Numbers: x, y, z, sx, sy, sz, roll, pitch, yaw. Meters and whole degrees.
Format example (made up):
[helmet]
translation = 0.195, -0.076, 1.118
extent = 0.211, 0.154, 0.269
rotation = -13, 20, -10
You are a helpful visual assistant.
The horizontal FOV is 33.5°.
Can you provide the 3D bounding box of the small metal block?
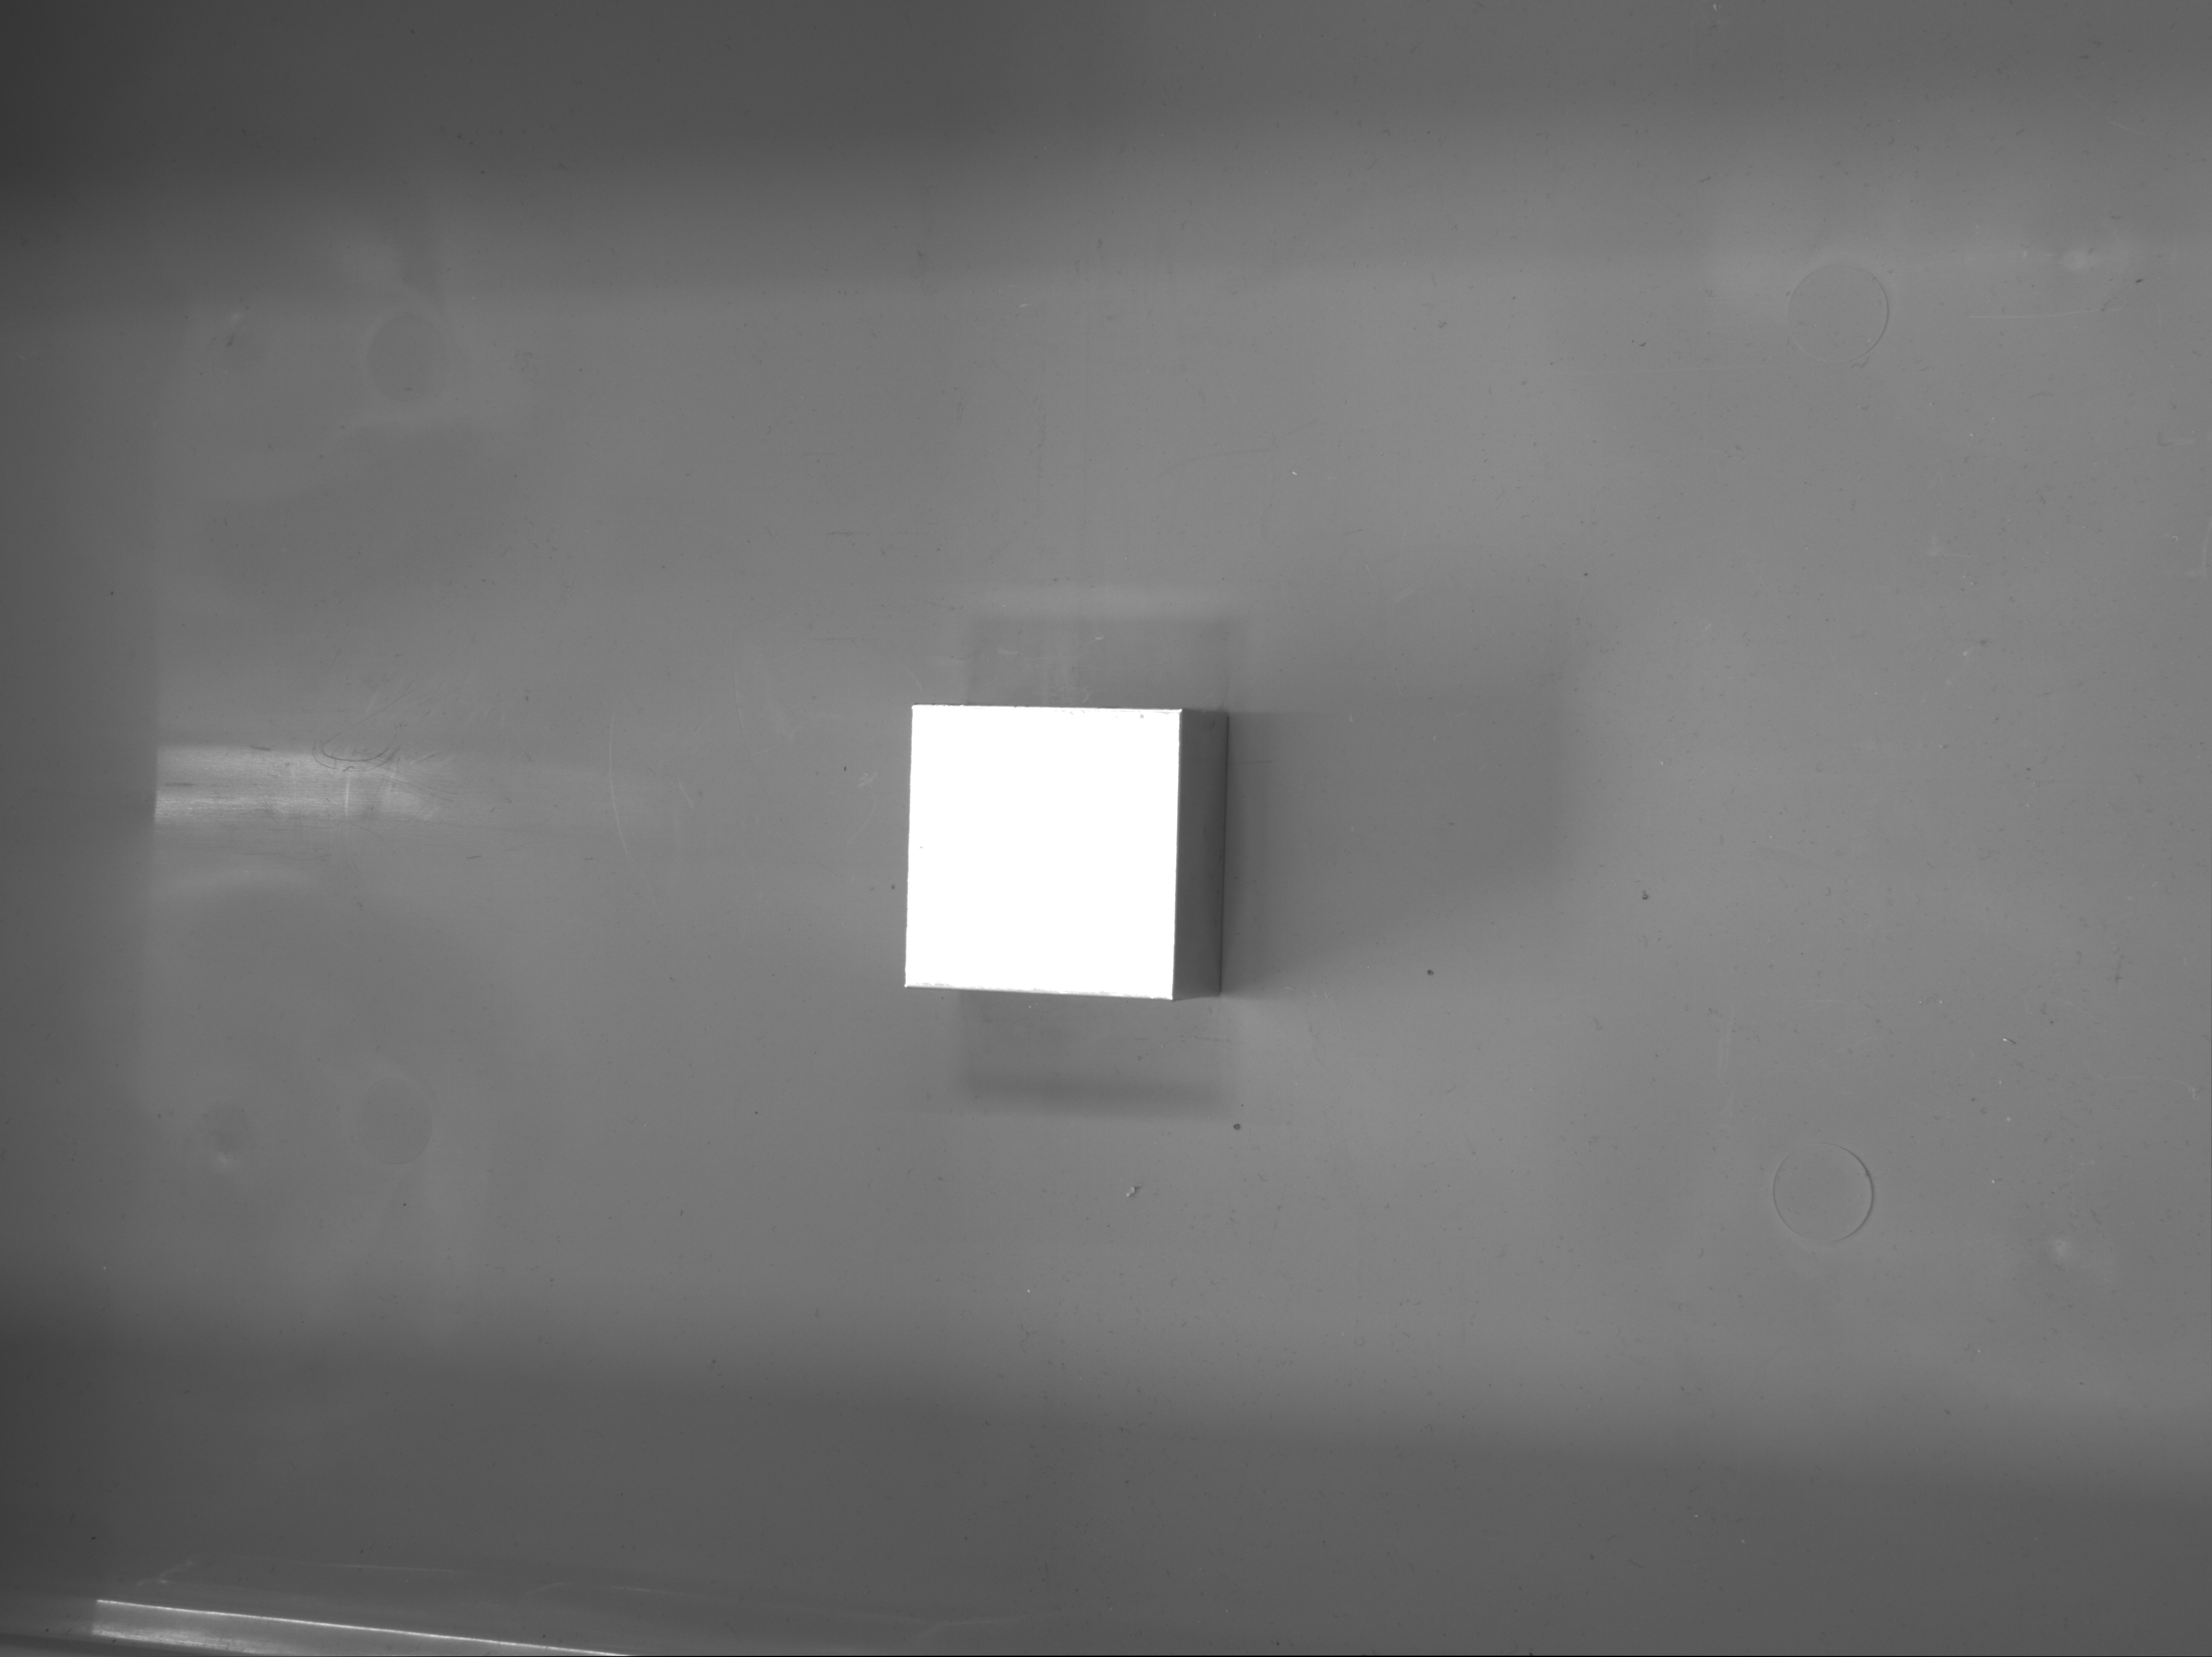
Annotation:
[small metal block]
translation = -0.007, 0.004, 0.646
extent = 0.050, 0.025, 0.050
rotation = 2, 91, 20
